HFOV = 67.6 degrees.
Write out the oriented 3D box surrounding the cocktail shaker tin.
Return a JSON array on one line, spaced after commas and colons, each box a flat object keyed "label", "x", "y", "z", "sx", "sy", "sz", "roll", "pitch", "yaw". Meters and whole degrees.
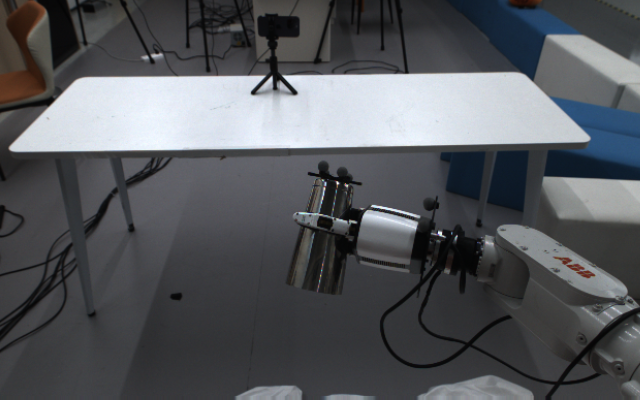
[{"label": "cocktail shaker tin", "x": 0.006, "y": 0.056, "z": 0.770, "sx": 0.093, "sy": 0.170, "sz": 0.093, "roll": 11, "pitch": -5, "yaw": 1}]
